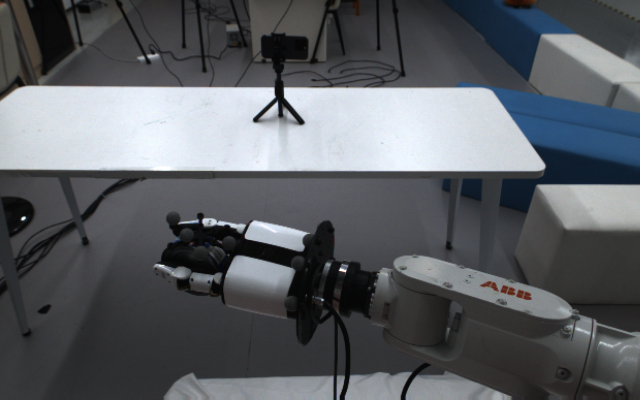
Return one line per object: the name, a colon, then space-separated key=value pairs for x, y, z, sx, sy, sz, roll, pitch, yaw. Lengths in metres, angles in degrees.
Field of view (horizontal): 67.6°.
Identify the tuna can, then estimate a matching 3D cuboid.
tuna can: x=-0.162 y=0.084 z=0.643 sx=0.085 sy=0.085 sz=0.034 roll=12 pitch=33 yaw=14
